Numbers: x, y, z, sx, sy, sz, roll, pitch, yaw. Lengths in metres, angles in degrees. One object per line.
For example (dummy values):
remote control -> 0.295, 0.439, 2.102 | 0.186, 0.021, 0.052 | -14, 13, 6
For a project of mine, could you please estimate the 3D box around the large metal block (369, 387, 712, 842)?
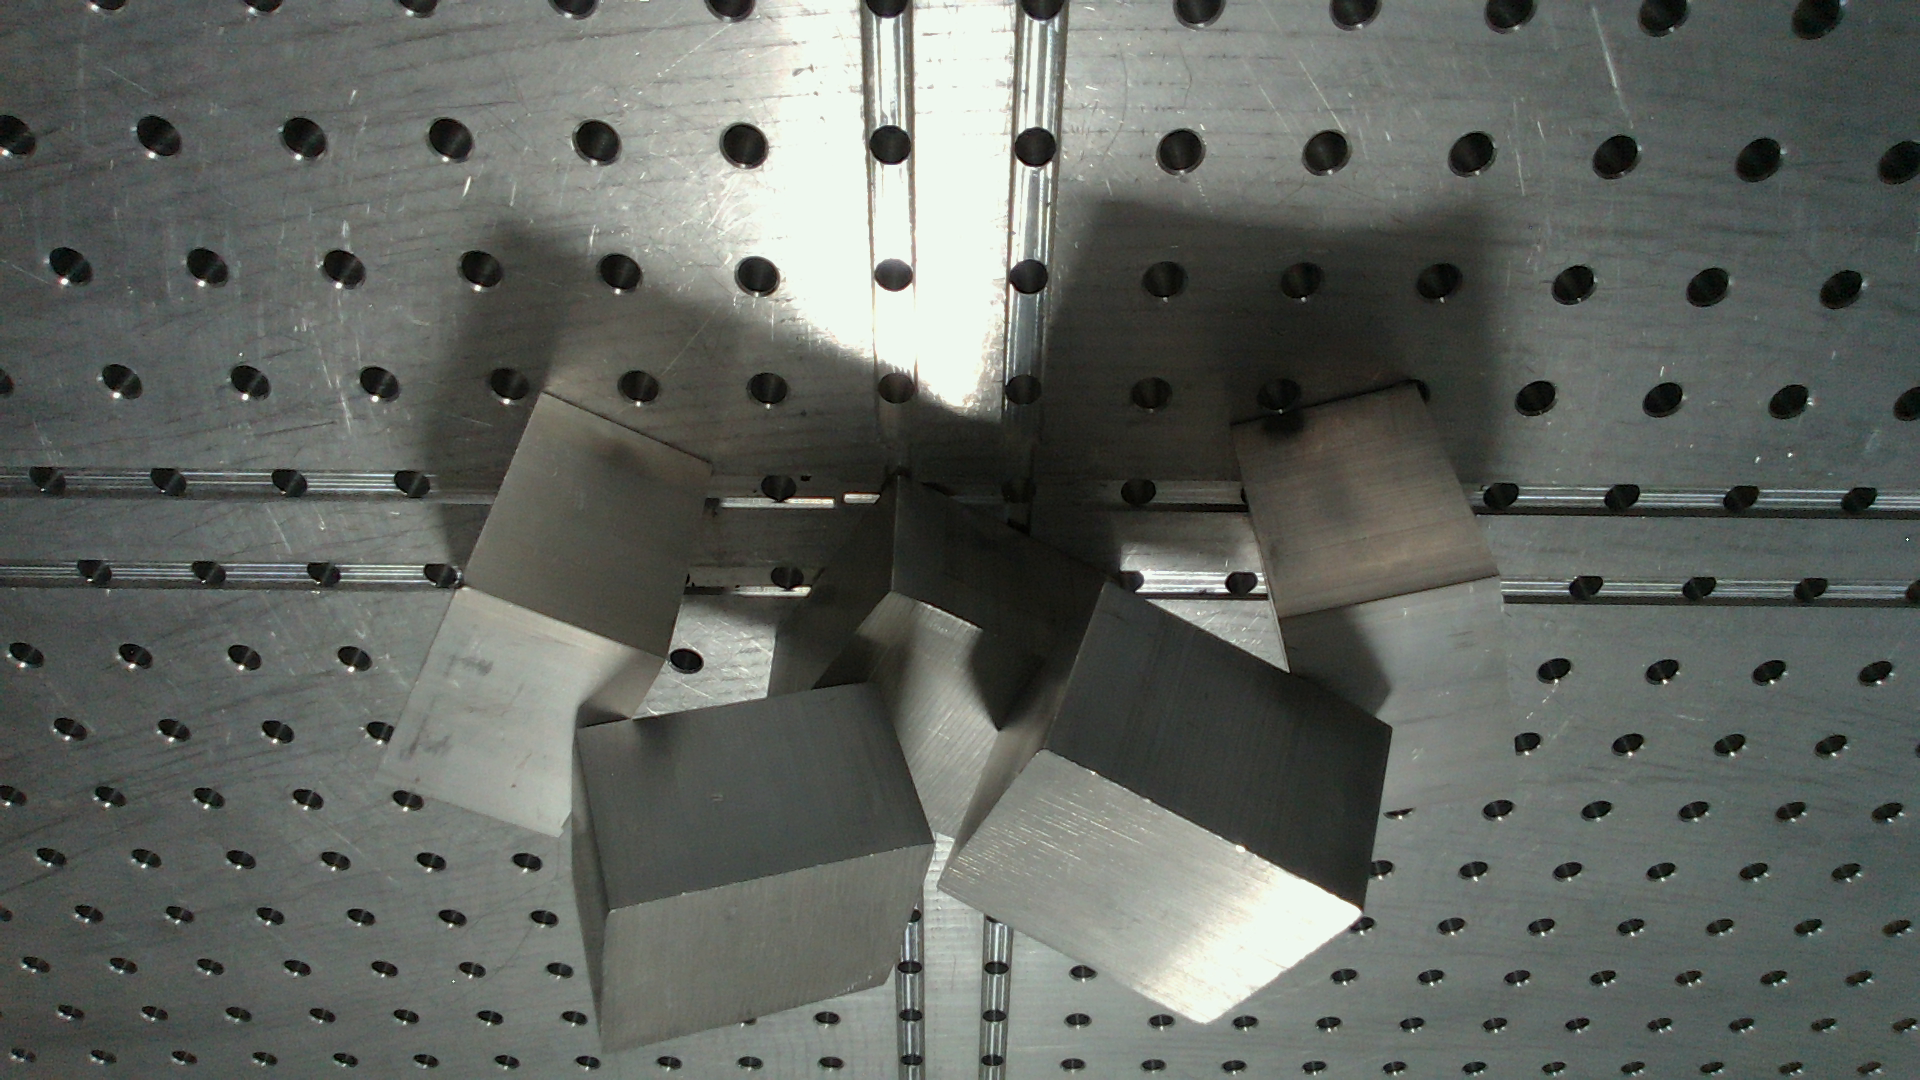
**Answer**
large metal block -> -0.112, 0.020, 0.374 | 0.050, 0.080, 0.080 | 23, 126, -19

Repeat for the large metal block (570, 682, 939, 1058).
large metal block -> -0.058, 0.087, 0.365 | 0.080, 0.050, 0.080 | -7, 140, -21

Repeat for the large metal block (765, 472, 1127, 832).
large metal block -> -0.004, 0.039, 0.409 | 0.080, 0.050, 0.080 | 25, 126, -20

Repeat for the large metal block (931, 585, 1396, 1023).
large metal block -> 0.049, 0.069, 0.345 | 0.080, 0.050, 0.080 | 27, 140, -2

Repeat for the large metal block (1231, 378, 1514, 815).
large metal block -> 0.111, 0.017, 0.372 | 0.050, 0.080, 0.080 | -13, 129, 11
